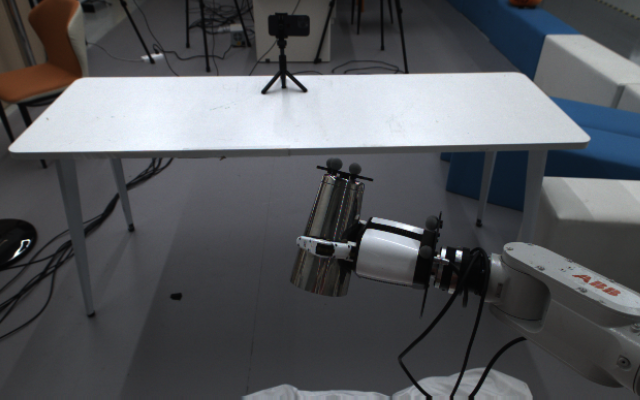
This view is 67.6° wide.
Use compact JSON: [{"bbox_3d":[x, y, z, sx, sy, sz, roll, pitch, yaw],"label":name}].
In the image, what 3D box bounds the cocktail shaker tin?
[{"bbox_3d":[0.018,0.050,0.739,0.093,0.170,0.093,13,5,-1],"label":"cocktail shaker tin"}]
